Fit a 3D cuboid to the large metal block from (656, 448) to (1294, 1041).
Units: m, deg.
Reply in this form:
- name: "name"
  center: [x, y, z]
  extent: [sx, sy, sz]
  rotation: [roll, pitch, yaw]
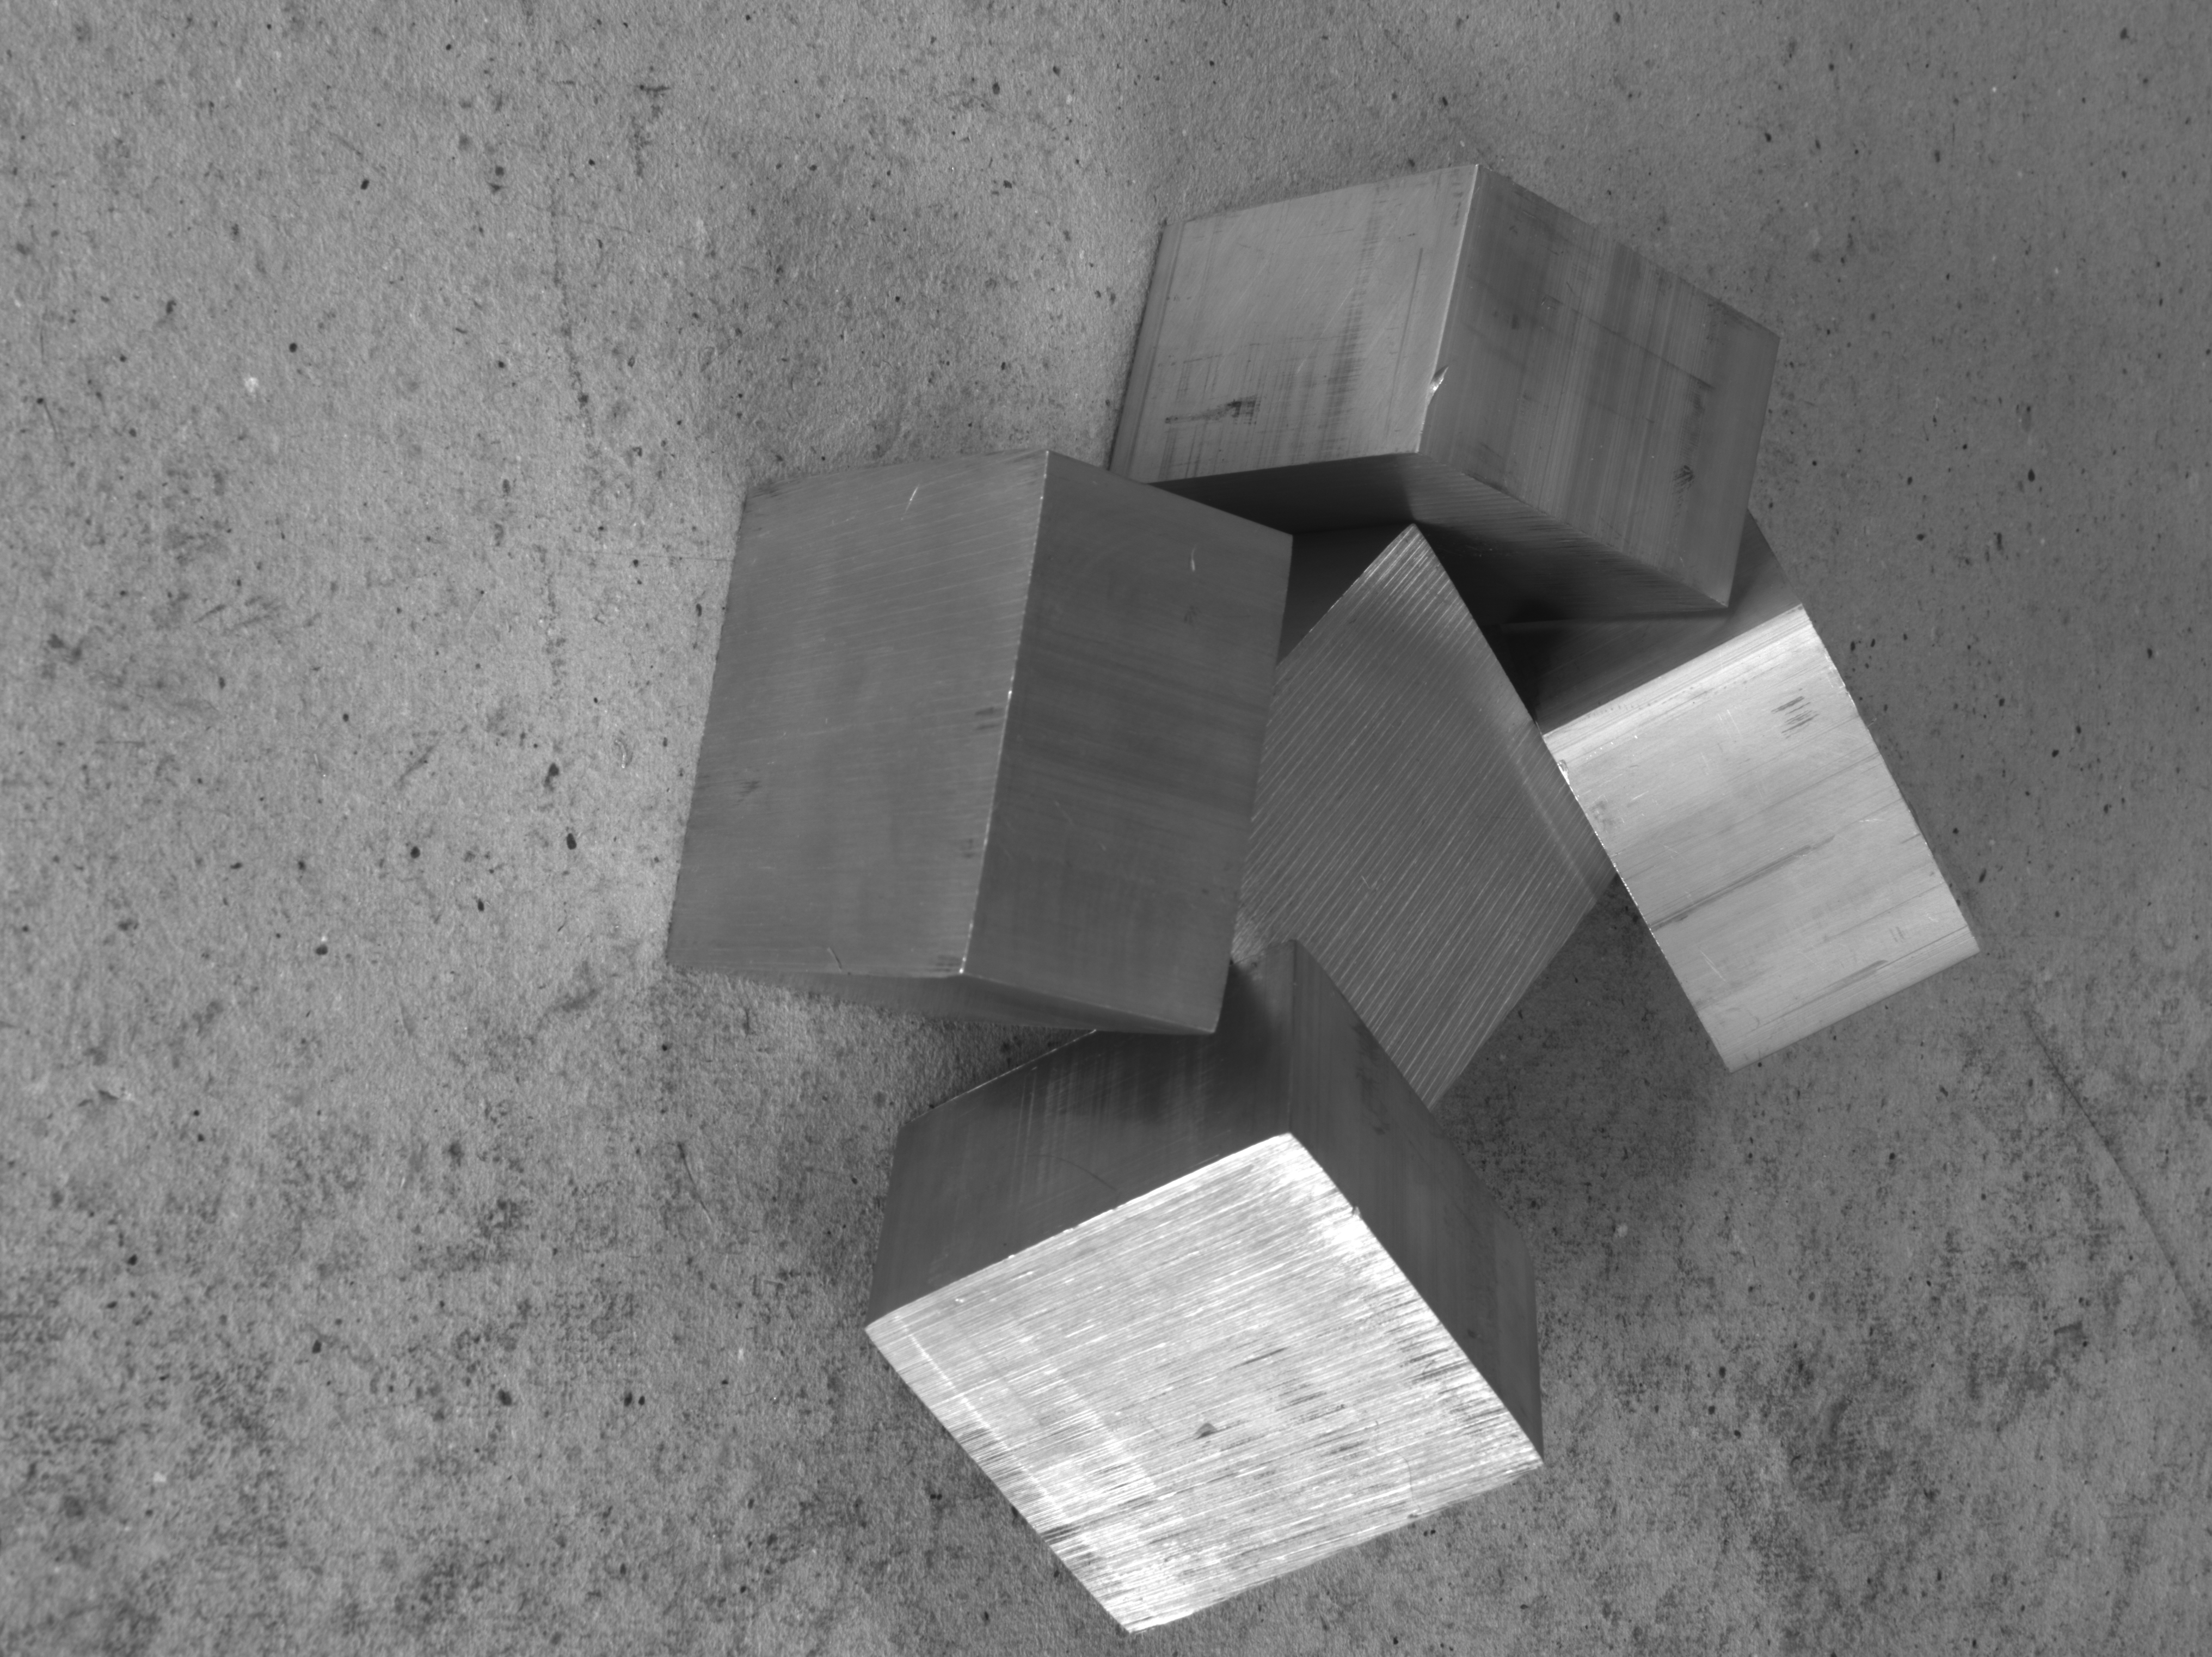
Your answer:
- name: "large metal block"
  center: [-0.022, -0.012, 0.584]
  extent: [0.050, 0.080, 0.080]
  rotation: [15, 81, -39]

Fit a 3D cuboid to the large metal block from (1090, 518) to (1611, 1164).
- name: "large metal block"
  center: [0.033, 0.003, 0.645]
  extent: [0.080, 0.050, 0.080]
  rotation: [-48, 119, -29]

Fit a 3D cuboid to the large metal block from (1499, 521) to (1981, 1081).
- name: "large metal block"
  center: [0.115, -0.014, 0.688]
  extent: [0.050, 0.080, 0.080]
  rotation: [-28, 114, 10]

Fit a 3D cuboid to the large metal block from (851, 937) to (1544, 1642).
- name: "large metal block"
  center: [0.016, 0.077, 0.607]
  extent: [0.080, 0.080, 0.050]
  rotation: [53, 22, -26]

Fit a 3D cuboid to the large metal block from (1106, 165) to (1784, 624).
- name: "large metal block"
  center: [0.059, -0.073, 0.651]
  extent: [0.080, 0.080, 0.050]
  rotation: [20, 77, -38]
